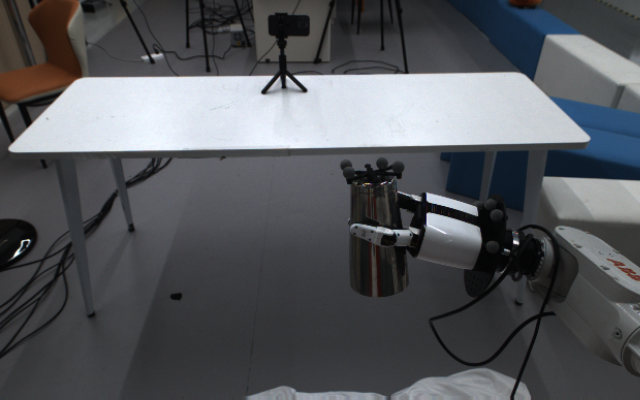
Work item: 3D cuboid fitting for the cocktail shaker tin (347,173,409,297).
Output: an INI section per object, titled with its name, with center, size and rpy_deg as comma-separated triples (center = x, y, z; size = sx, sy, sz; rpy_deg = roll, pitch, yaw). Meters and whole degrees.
[cocktail shaker tin]
center = 0.085, 0.048, 0.728
size = 0.093, 0.170, 0.093
rpy_deg = -6, 19, 2
